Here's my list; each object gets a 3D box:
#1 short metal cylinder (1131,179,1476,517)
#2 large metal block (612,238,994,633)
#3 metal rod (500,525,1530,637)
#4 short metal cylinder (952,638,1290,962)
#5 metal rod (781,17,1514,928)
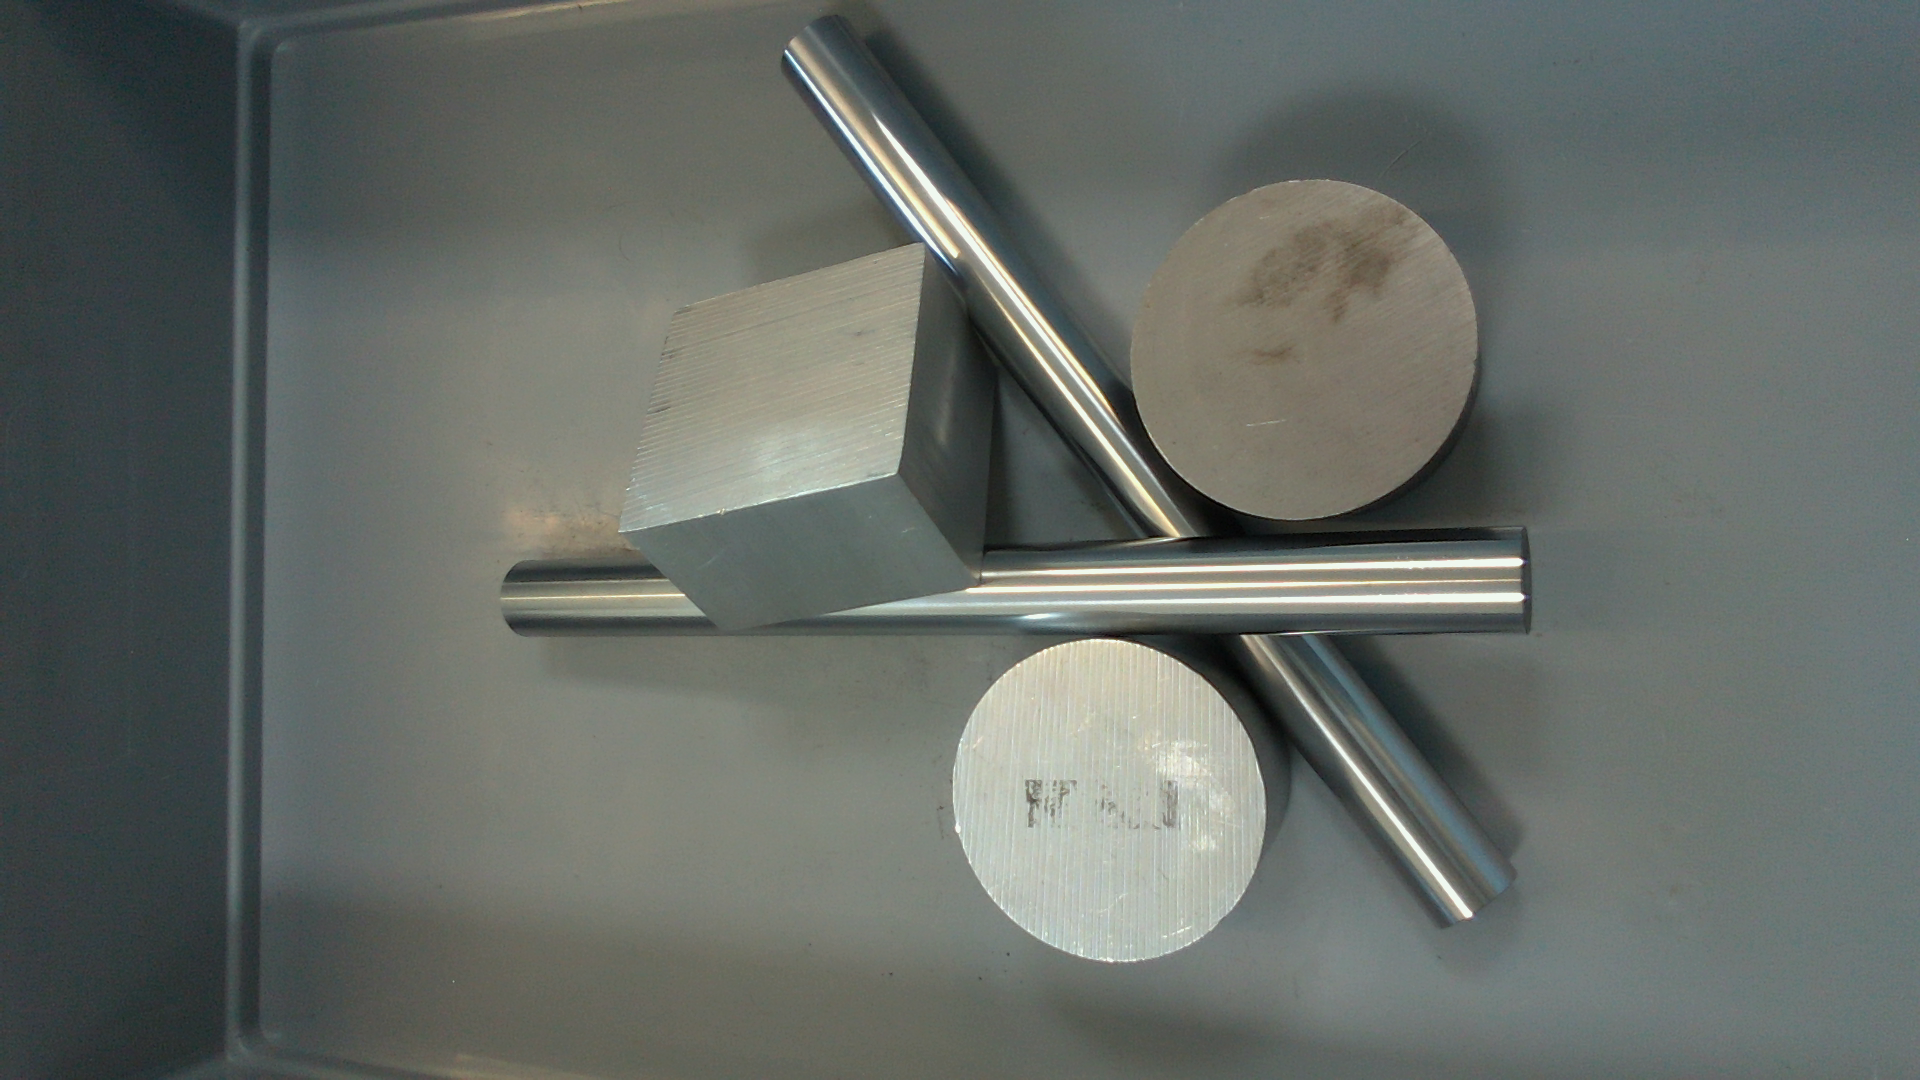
[{"bbox_3d":[0.088,-0.046,0.350,0.080,0.050,0.080,0,90,20],"label":"short metal cylinder"},{"bbox_3d":[-0.039,-0.027,0.376,0.080,0.050,0.080,-11,52,20],"label":"large metal block"},{"bbox_3d":[-0.005,0.014,0.379,0.299,0.025,0.025,-2,89,26],"label":"metal rod"},{"bbox_3d":[0.044,0.065,0.365,0.080,0.050,0.080,0,90,20],"label":"short metal cylinder"},{"bbox_3d":[0.043,-0.028,0.379,0.025,0.025,0.300,-40,78,16],"label":"metal rod"}]
